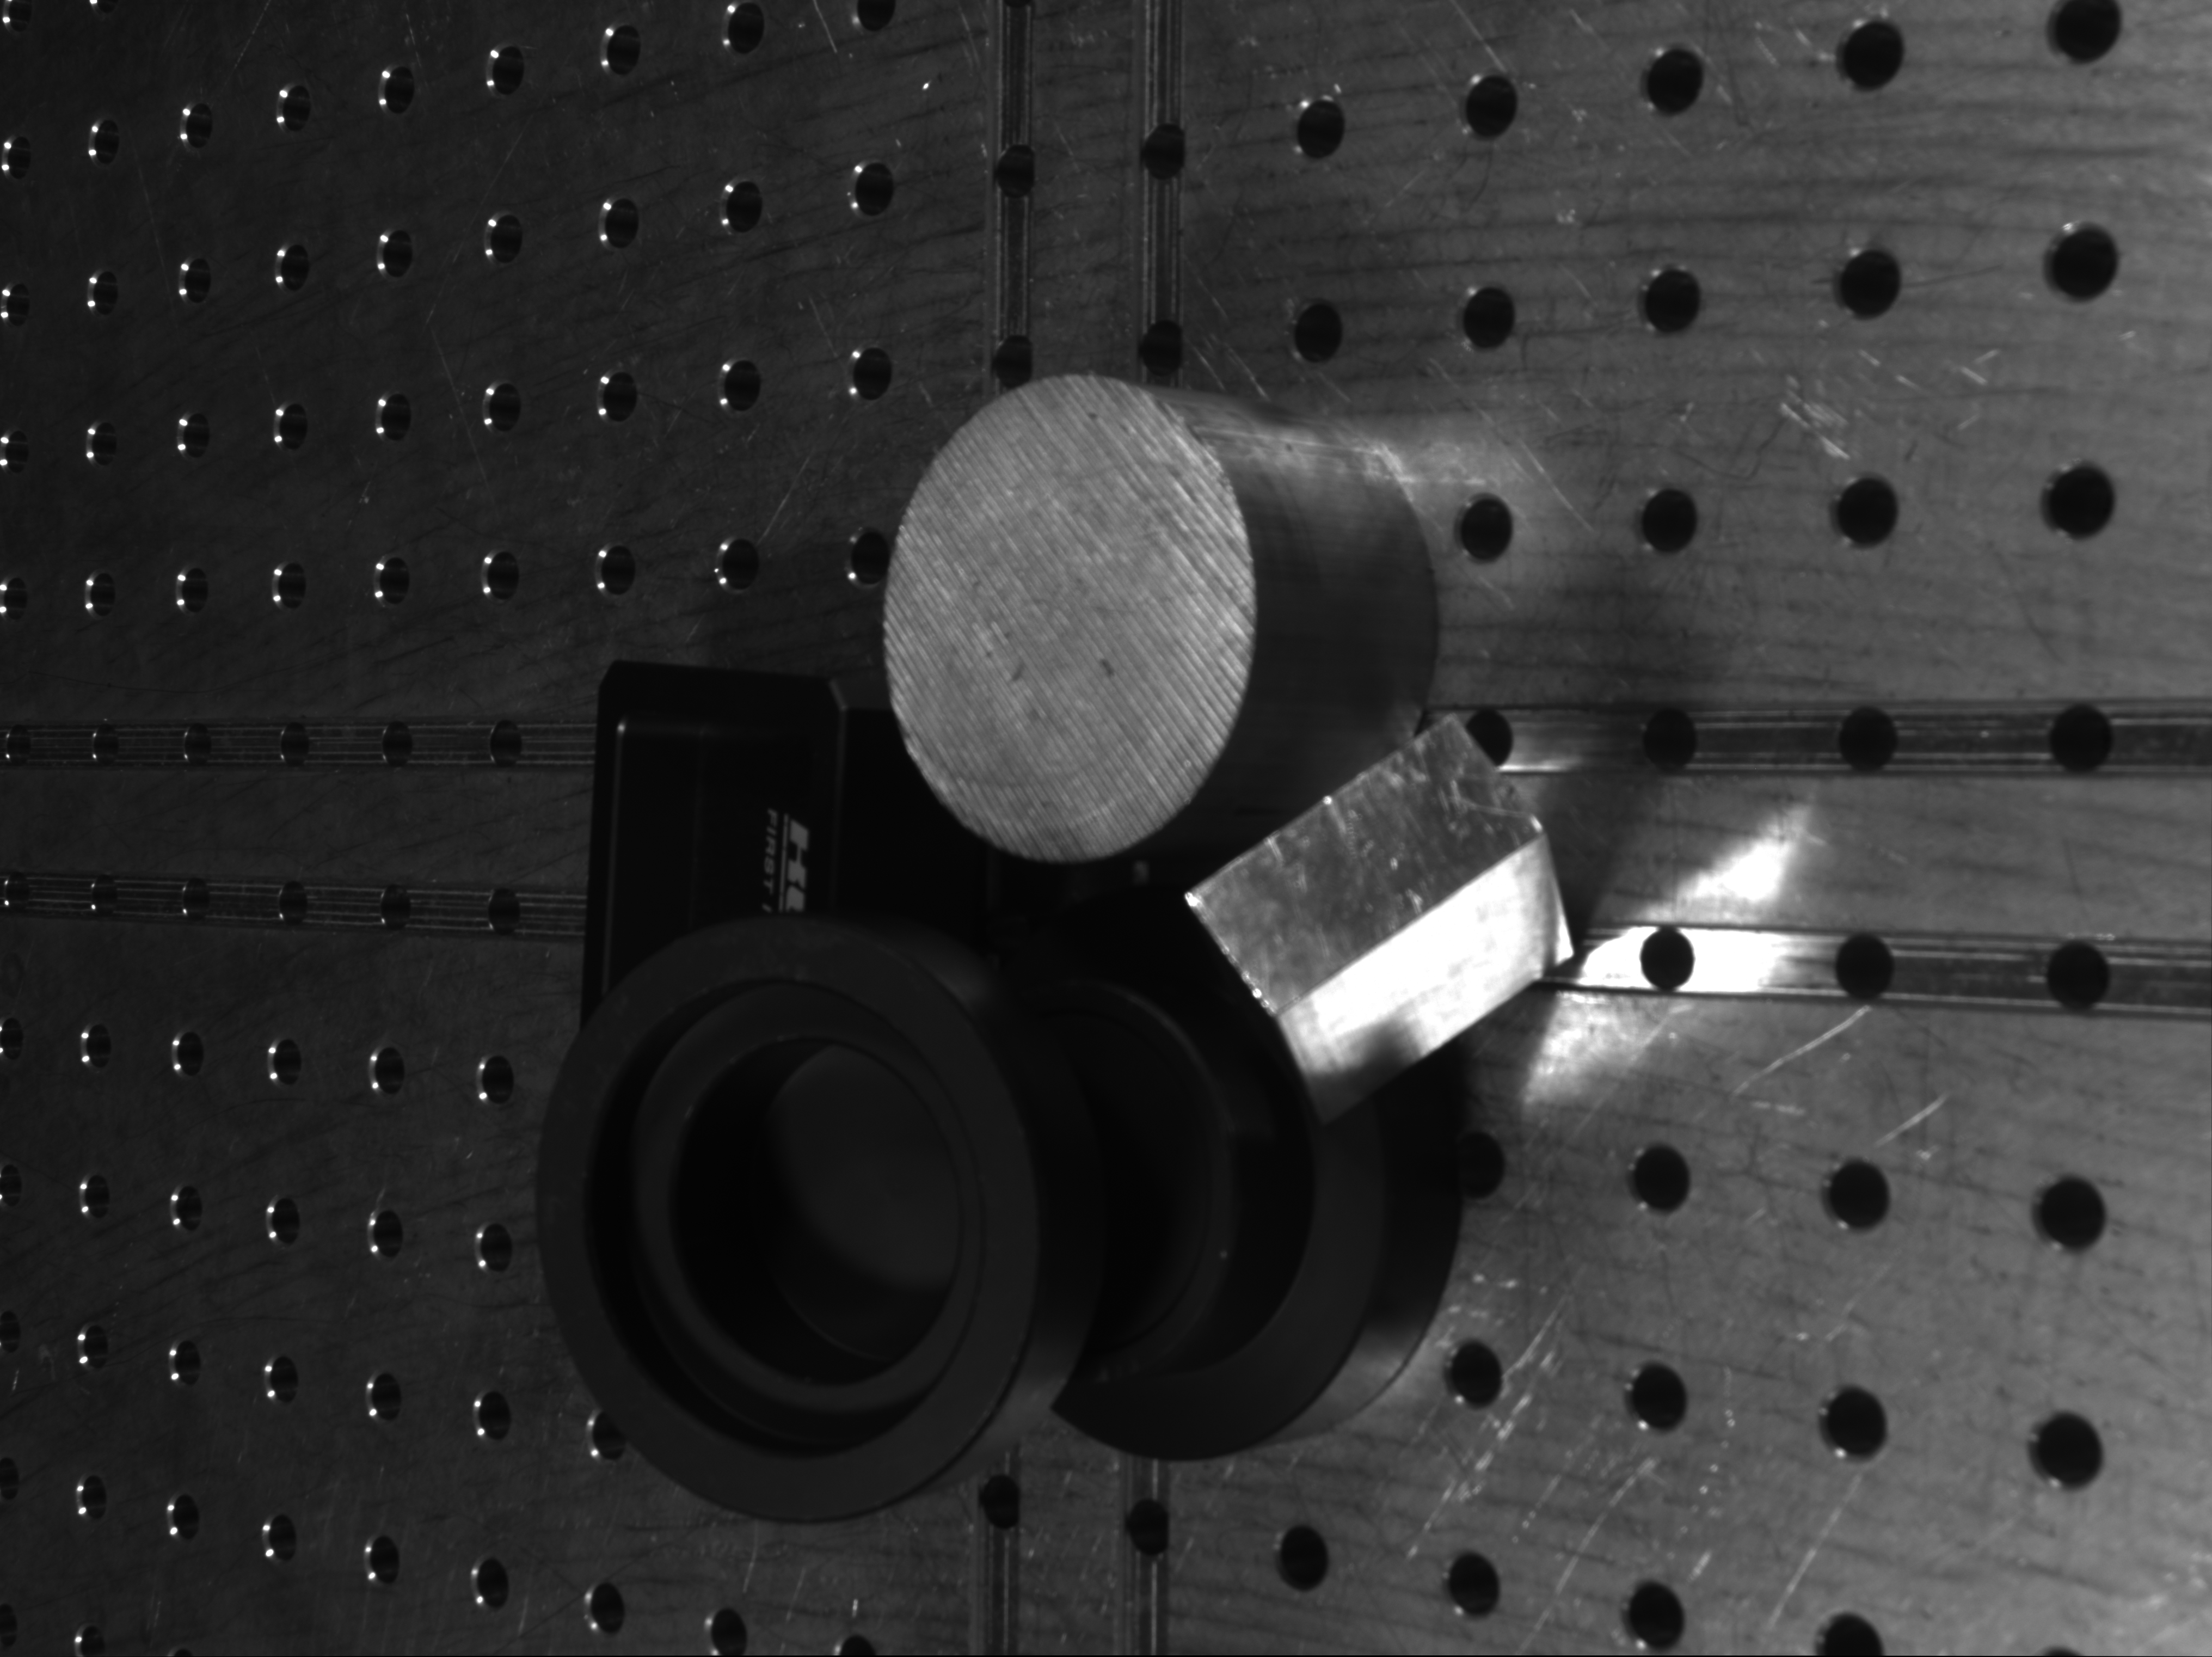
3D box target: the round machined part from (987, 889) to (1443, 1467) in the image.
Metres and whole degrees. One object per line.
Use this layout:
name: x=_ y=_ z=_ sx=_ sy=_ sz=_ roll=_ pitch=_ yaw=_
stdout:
round machined part: x=0.005 y=0.059 z=0.622 sx=0.098 sy=0.042 sz=0.098 roll=0 pitch=90 yaw=39

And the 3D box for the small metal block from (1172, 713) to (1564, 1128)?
small metal block: x=0.042 y=0.015 z=0.576 sx=0.050 sy=0.050 sz=0.025 roll=-34 pitch=64 yaw=-4

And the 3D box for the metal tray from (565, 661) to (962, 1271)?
metal tray: x=-0.066 y=0.036 z=0.676 sx=0.090 sy=0.030 sz=0.130 roll=7 pitch=95 yaw=54

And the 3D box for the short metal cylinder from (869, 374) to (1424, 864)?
short metal cylinder: x=0.006 y=-0.034 z=0.618 sx=0.080 sy=0.050 sz=0.080 roll=0 pitch=90 yaw=39

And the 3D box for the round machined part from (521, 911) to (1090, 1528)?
round machined part: x=-0.045 y=0.062 z=0.603 sx=0.098 sy=0.042 sz=0.098 roll=1 pitch=92 yaw=29
